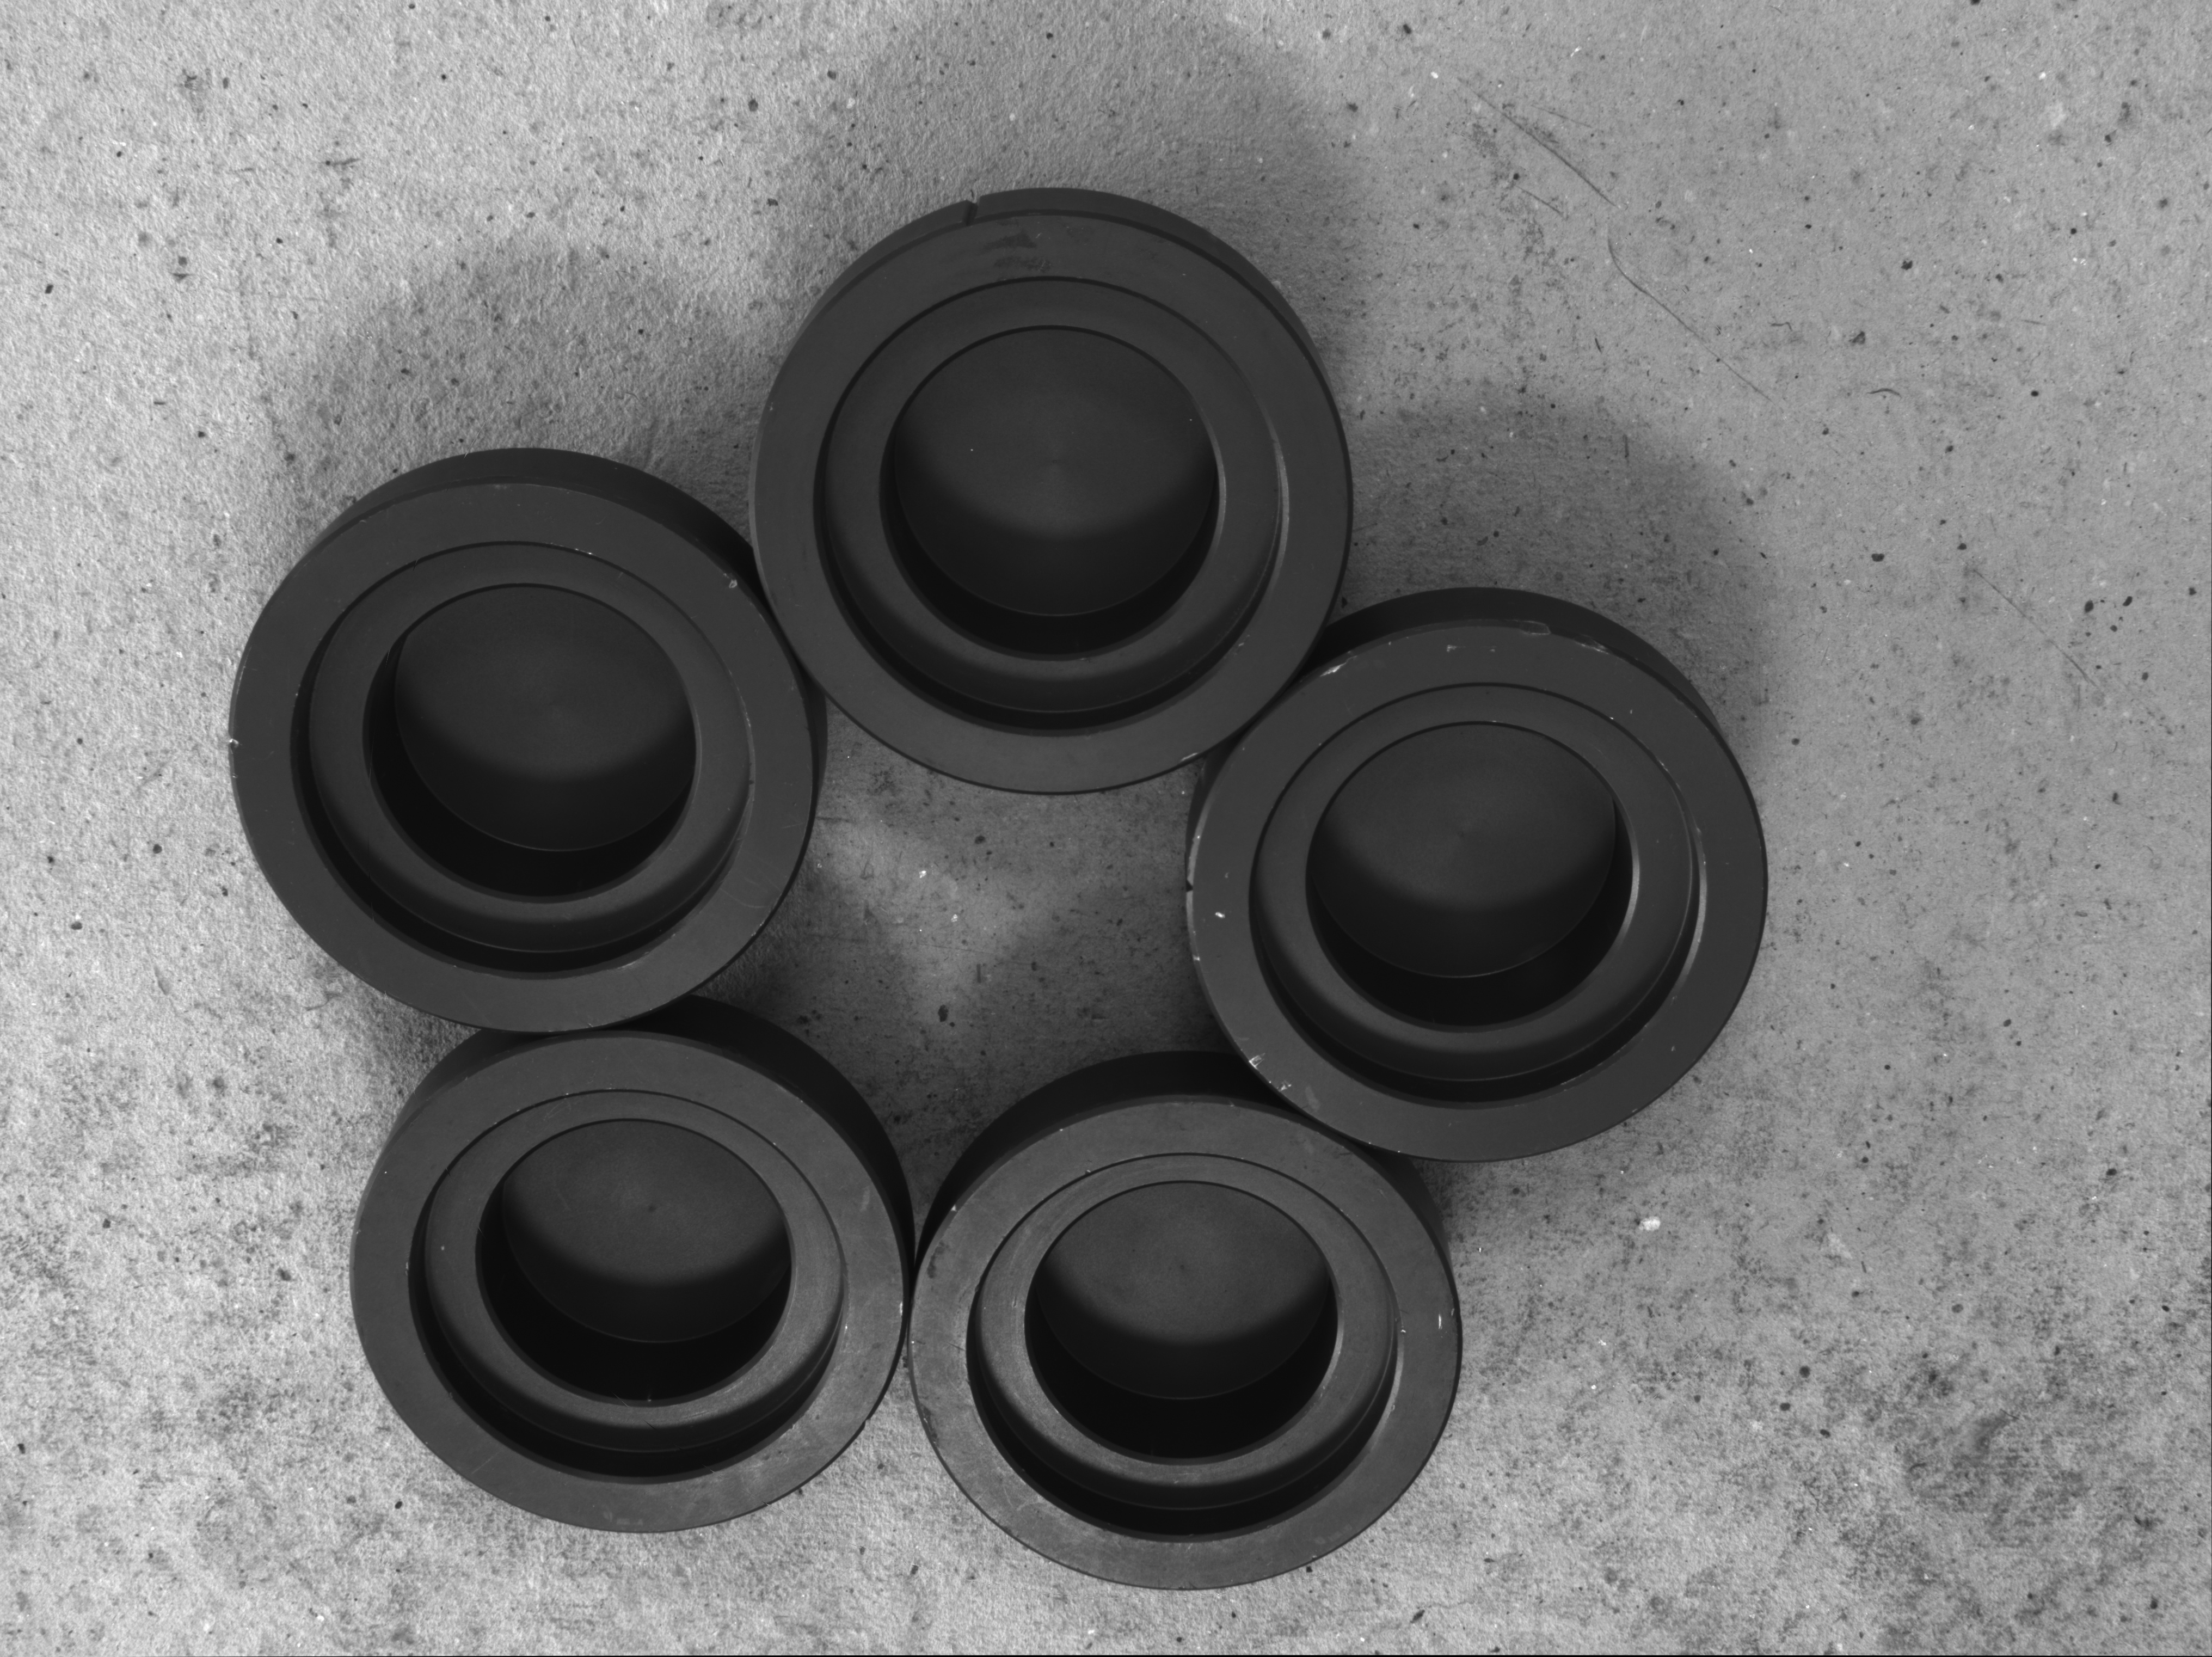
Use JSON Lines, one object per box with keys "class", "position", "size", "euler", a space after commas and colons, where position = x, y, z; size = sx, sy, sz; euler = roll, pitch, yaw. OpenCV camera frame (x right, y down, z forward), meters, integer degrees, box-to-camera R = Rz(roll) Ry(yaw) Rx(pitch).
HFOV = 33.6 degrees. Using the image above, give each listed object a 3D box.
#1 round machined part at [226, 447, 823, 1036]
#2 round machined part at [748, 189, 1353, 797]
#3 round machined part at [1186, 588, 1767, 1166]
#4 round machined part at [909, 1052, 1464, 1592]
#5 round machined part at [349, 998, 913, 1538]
{"class": "round machined part", "position": [-0.097, -0.017, 0.628], "size": [0.098, 0.042, 0.098], "euler": [0, 109, 0]}
{"class": "round machined part", "position": [-0.009, -0.058, 0.613], "size": [0.098, 0.042, 0.098], "euler": [0, 109, -1]}
{"class": "round machined part", "position": [0.062, 0.005, 0.636], "size": [0.098, 0.042, 0.098], "euler": [0, 109, -1]}
{"class": "round machined part", "position": [0.014, 0.085, 0.666], "size": [0.098, 0.042, 0.098], "euler": [0, 109, -1]}
{"class": "round machined part", "position": [-0.084, 0.074, 0.661], "size": [0.098, 0.042, 0.098], "euler": [0, 109, -1]}
